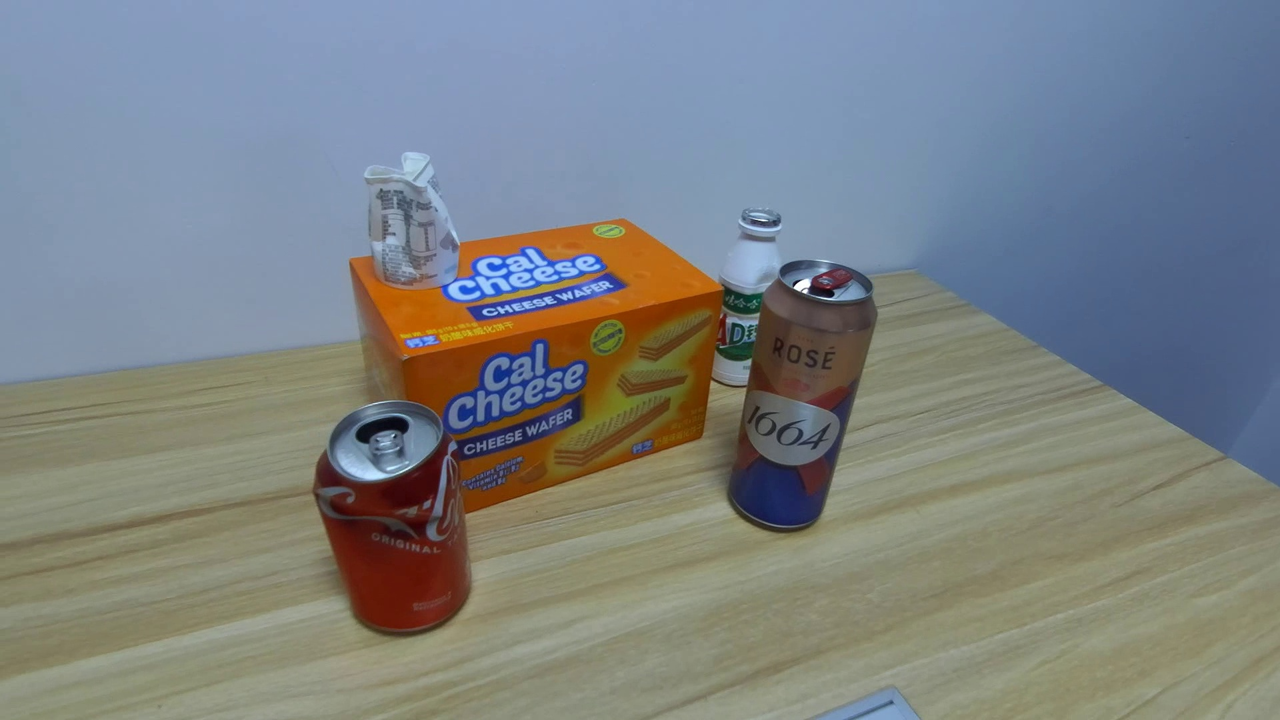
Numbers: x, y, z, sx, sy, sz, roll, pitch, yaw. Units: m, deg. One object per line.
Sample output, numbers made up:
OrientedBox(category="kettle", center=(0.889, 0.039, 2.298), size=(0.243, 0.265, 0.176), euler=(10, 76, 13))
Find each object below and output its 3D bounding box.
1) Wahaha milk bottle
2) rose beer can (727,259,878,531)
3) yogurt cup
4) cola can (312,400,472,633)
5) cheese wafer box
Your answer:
OrientedBox(category="Wahaha milk bottle", center=(0.087, -0.043, 0.581), size=(0.053, 0.136, 0.053), euler=(4, 27, -2))
OrientedBox(category="rose beer can", center=(0.099, 0.026, 0.443), size=(0.069, 0.169, 0.068), euler=(4, 30, -2))
OrientedBox(category="yogurt cup", center=(-0.145, -0.088, 0.449), size=(0.055, 0.072, 0.055), euler=(13, 33, 10))
OrientedBox(category="cola can", center=(-0.123, 0.082, 0.371), size=(0.072, 0.117, 0.065), euler=(13, 32, 15))
OrientedBox(category="cheese wafer box", center=(-0.074, -0.005, 0.514), size=(0.223, 0.129, 0.147), euler=(-14, 37, -28))
